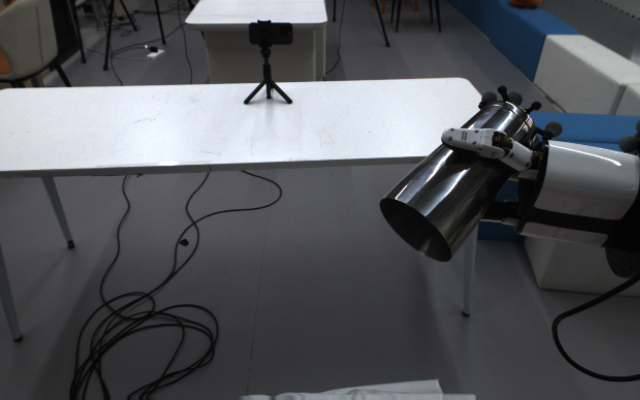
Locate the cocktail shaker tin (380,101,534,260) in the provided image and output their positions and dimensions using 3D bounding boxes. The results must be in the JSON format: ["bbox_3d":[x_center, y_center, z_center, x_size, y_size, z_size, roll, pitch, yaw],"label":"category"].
[{"bbox_3d":[0.154,-0.031,0.517,0.170,0.093,0.093,-43,51,-15],"label":"cocktail shaker tin"}]
